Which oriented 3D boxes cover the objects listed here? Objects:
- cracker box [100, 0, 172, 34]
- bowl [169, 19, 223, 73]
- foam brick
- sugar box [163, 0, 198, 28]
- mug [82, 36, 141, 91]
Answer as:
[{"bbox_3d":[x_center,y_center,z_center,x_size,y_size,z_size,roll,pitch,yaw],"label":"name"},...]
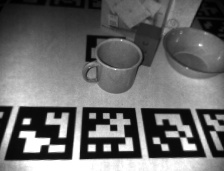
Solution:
[{"bbox_3d":[0.061,-0.230,0.505,0.163,0.214,0.072,25,51,13],"label":"cracker box"},{"bbox_3d":[0.197,-0.081,0.490,0.162,0.055,0.161,4,52,-4],"label":"bowl"},{"bbox_3d":[0.074,-0.106,0.499,0.052,0.078,0.051,13,50,5],"label":"foam brick"},{"bbox_3d":[0.169,-0.226,0.538,0.092,0.177,0.045,17,52,9],"label":"sugar box"},{"bbox_3d":[-0.005,-0.042,0.425,0.118,0.082,0.092,-7,44,-9],"label":"mug"}]
